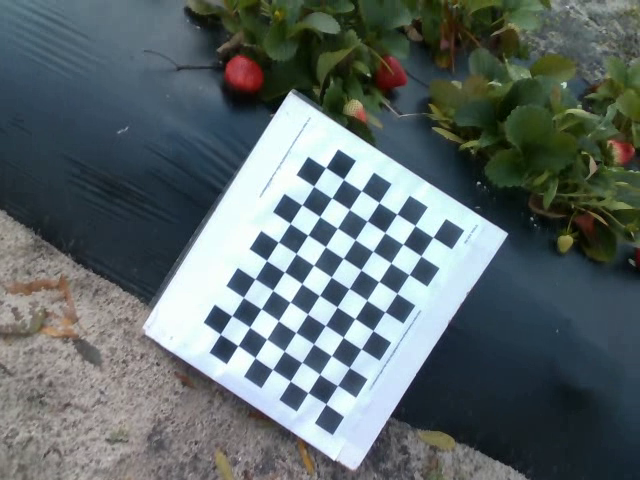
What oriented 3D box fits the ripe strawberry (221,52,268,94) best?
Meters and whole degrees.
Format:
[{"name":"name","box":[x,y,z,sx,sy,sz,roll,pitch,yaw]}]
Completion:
[{"name":"ripe strawberry","box":[-0.073,-0.142,0.451,0.037,0.037,0.046,-11,43,10]}]
